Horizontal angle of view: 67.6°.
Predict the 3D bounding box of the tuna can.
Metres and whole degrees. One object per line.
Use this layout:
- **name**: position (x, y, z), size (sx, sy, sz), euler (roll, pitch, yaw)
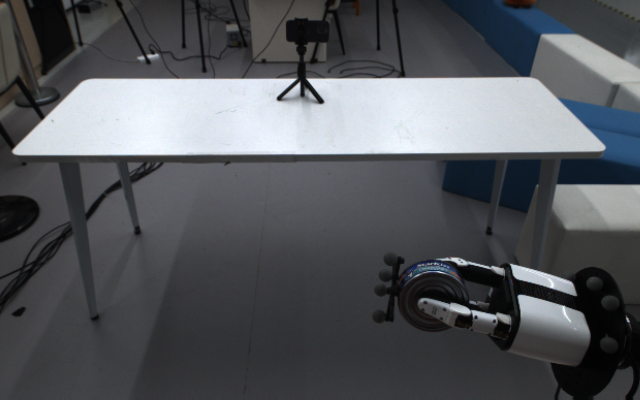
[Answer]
- **tuna can**: position (0.141, 0.116, 0.595), size (0.085, 0.085, 0.034), euler (4, 17, 3)
